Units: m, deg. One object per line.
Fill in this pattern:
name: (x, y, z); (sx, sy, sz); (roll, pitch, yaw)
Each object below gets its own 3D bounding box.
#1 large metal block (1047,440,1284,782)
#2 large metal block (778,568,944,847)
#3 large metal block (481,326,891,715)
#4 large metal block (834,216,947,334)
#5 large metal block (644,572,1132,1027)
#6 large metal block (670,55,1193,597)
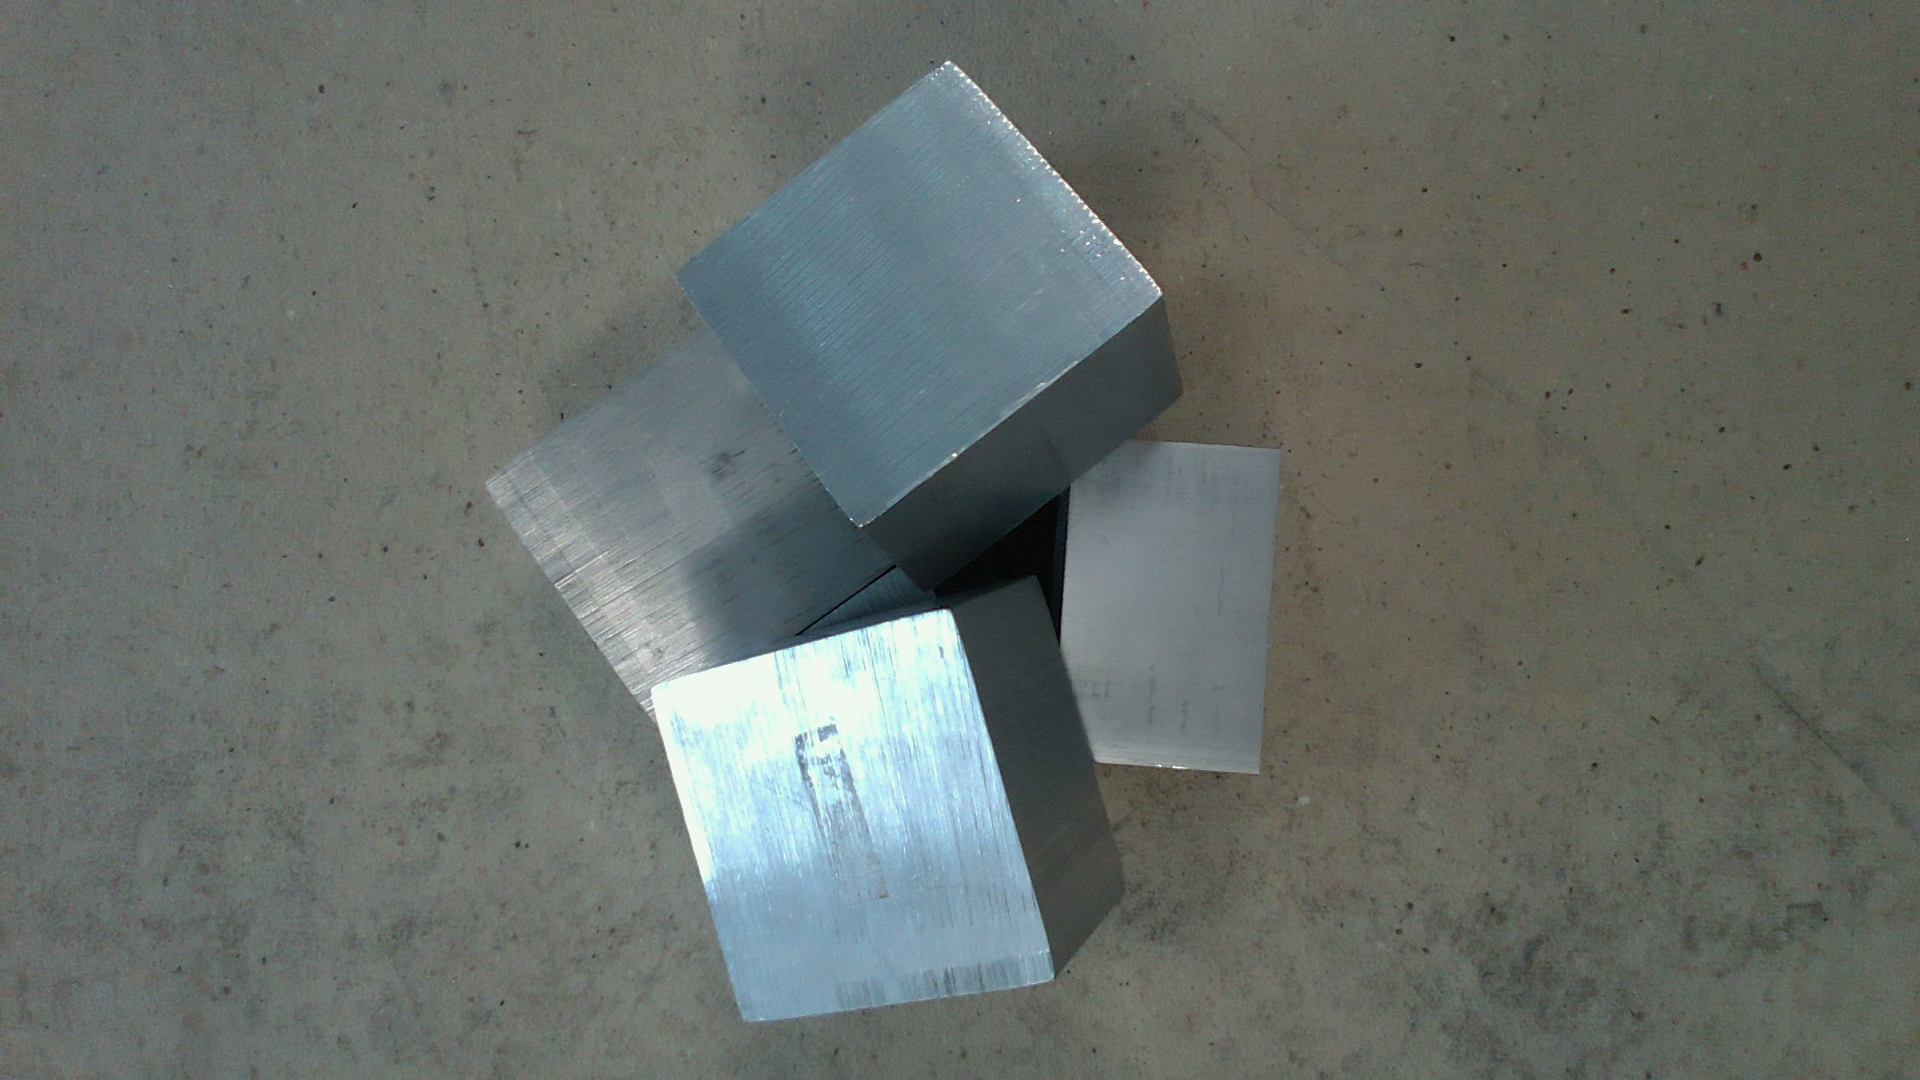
large metal block: (0.050, 0.016, 0.369); (0.050, 0.080, 0.080); (4, 90, 0)
large metal block: (-0.022, 0.059, 0.384); (0.080, 0.050, 0.080); (-36, 90, 0)
large metal block: (-0.069, -0.006, 0.383); (0.080, 0.050, 0.080); (-36, 91, 0)
large metal block: (-0.005, -0.054, 0.381); (0.080, 0.050, 0.080); (-36, 90, -1)
large metal block: (-0.016, 0.059, 0.318); (0.080, 0.050, 0.080); (-16, 91, 25)
large metal block: (-0.005, -0.048, 0.317); (0.080, 0.050, 0.080); (-37, 67, 0)
